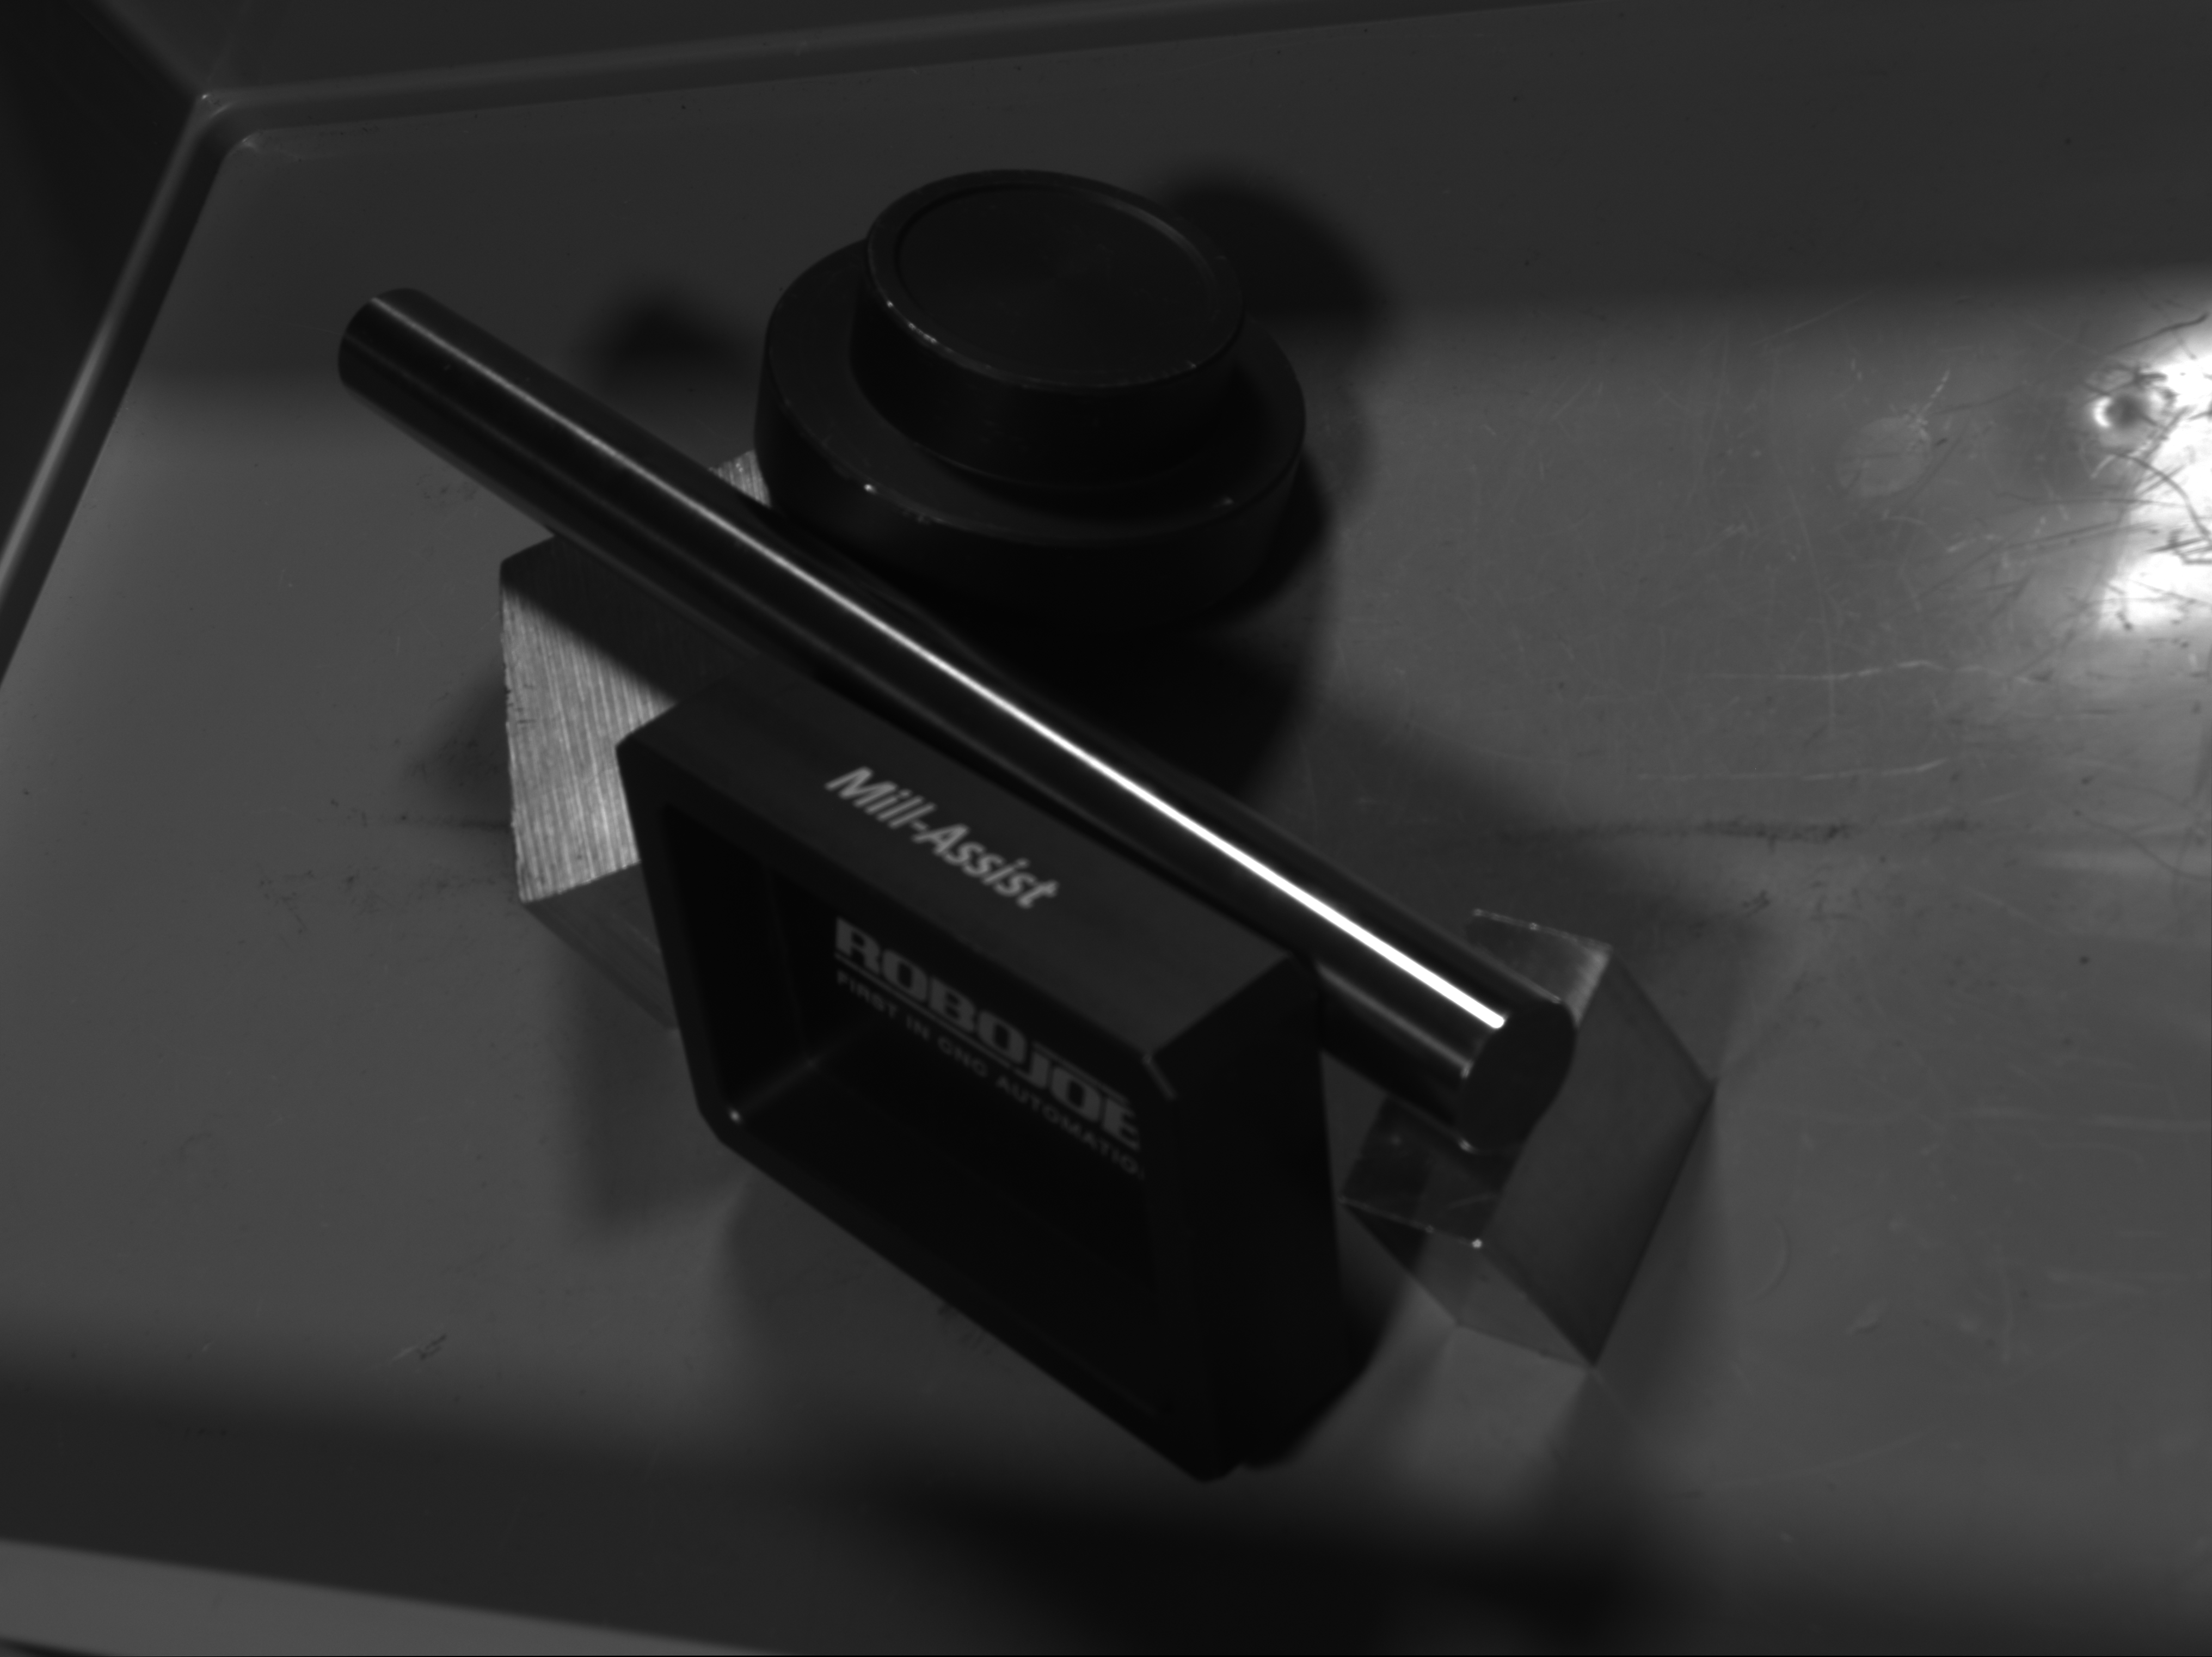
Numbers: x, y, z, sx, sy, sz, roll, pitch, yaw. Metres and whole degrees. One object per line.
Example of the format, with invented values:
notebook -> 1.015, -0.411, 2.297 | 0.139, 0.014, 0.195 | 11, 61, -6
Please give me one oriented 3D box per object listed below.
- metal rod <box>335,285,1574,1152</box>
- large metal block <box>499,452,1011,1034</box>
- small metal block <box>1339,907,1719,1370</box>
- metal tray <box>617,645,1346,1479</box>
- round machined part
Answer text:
metal rod -> -0.040, -0.029, 0.616 | 0.299, 0.025, 0.025 | 33, 80, 38
large metal block -> -0.062, -0.020, 0.672 | 0.080, 0.050, 0.080 | -21, 54, 16
small metal block -> 0.066, 0.048, 0.562 | 0.025, 0.050, 0.050 | 15, 70, 34
metal tray -> -0.021, 0.035, 0.586 | 0.030, 0.090, 0.130 | -34, 45, -30
round machined part -> -0.012, -0.082, 0.656 | 0.098, 0.042, 0.098 | 8, 41, -7
